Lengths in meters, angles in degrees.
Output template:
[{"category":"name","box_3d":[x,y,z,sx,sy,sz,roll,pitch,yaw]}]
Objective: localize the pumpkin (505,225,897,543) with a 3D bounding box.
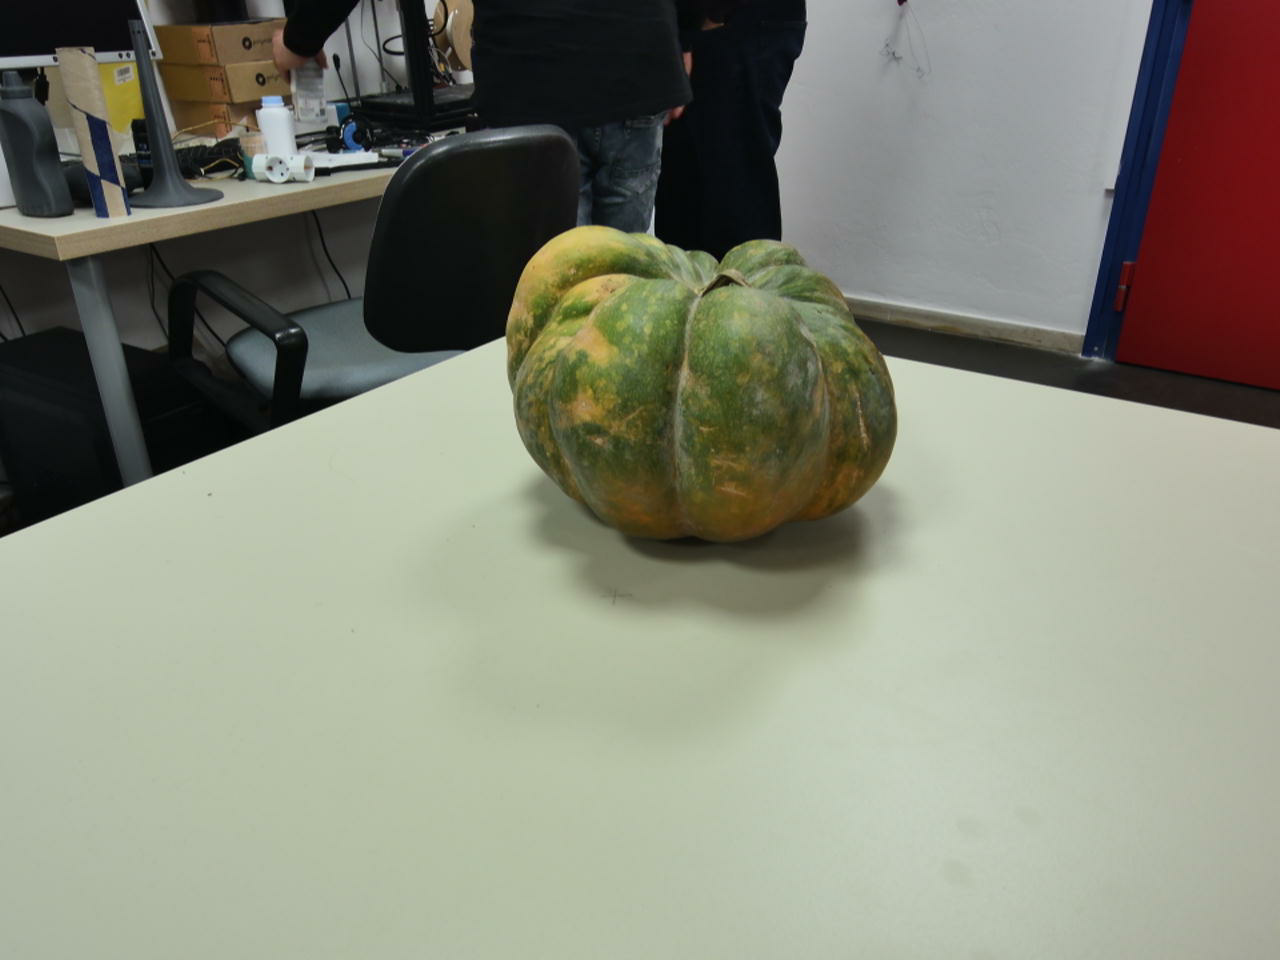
[{"category":"pumpkin","box_3d":[0.038,-0.066,0.629,0.237,0.173,0.270,-7,26,-15]}]
